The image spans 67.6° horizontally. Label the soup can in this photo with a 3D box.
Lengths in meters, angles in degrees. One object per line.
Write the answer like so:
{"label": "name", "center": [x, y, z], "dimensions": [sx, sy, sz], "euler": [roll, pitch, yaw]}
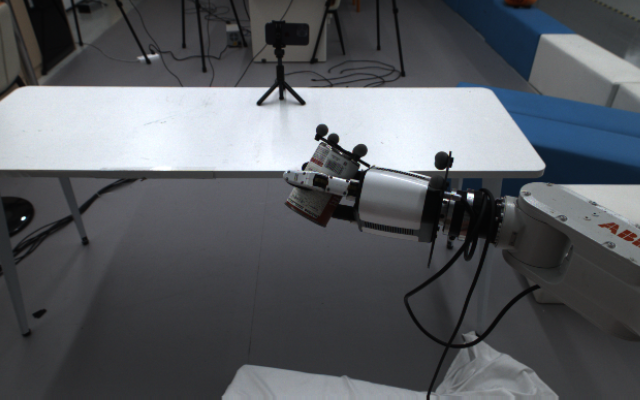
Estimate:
{"label": "soup can", "center": [0.004, -0.021, 0.684], "dimensions": [0.067, 0.101, 0.067], "euler": [30, 2, -1]}
